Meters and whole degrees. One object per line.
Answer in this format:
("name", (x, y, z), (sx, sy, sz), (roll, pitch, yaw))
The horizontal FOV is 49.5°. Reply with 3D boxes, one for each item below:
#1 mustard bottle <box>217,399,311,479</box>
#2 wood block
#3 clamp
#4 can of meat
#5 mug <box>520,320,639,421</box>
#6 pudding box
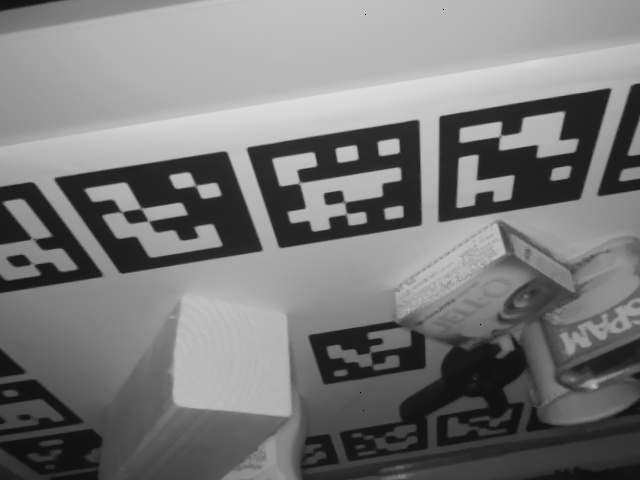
("mustard bottle", (-0.052, 0.242, 0.624), (0.096, 0.192, 0.058), (-12, 137, 5))
("wood block", (-0.111, 0.139, 0.586), (0.091, 0.091, 0.203), (17, 135, -27))
("clamp", (0.153, 0.149, 0.676), (0.123, 0.037, 0.163), (6, 134, -12))
("can of meat", (0.230, 0.064, 0.543), (0.100, 0.084, 0.058), (-30, 132, 24))
("mug", (0.230, 0.115, 0.642), (0.094, 0.082, 0.115), (7, 134, -15))
("pudding box", (0.128, 0.043, 0.548), (0.091, 0.039, 0.112), (30, 128, -33))
